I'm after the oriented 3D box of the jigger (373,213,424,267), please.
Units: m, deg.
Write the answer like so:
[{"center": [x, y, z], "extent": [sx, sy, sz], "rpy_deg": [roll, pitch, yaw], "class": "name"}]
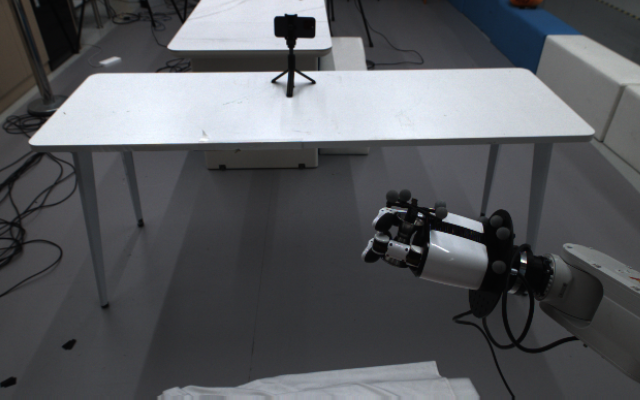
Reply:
[{"center": [0.121, 0.057, 0.700], "extent": [0.043, 0.071, 0.043], "rpy_deg": [15, 16, -5], "class": "jigger"}]
